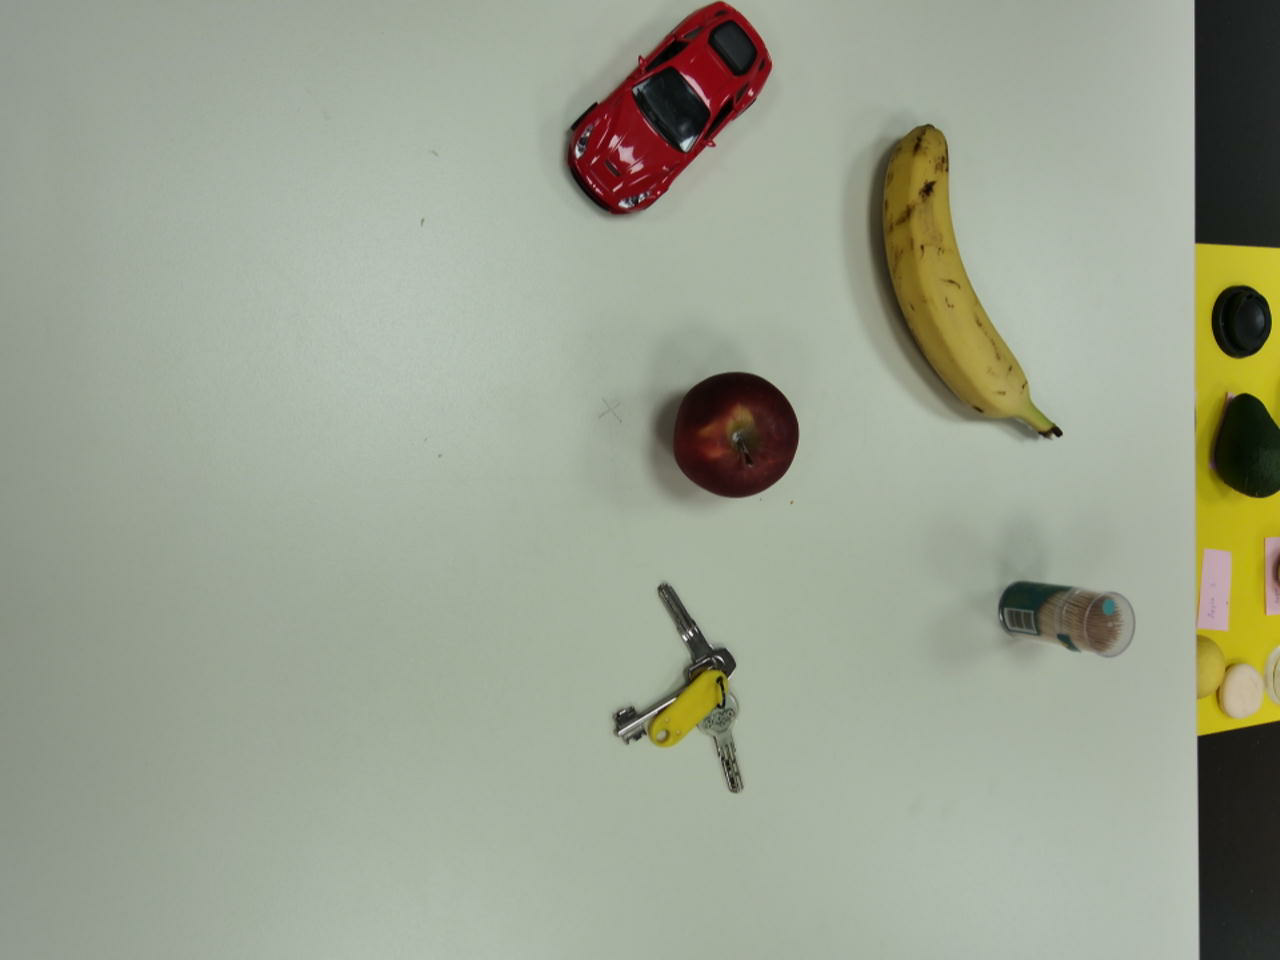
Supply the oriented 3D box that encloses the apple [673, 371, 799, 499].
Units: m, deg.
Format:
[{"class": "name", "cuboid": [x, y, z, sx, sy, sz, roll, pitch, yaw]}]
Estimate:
[{"class": "apple", "cuboid": [0.052, -0.025, 0.552, 0.070, 0.072, 0.070, 0, 90, -22]}]
